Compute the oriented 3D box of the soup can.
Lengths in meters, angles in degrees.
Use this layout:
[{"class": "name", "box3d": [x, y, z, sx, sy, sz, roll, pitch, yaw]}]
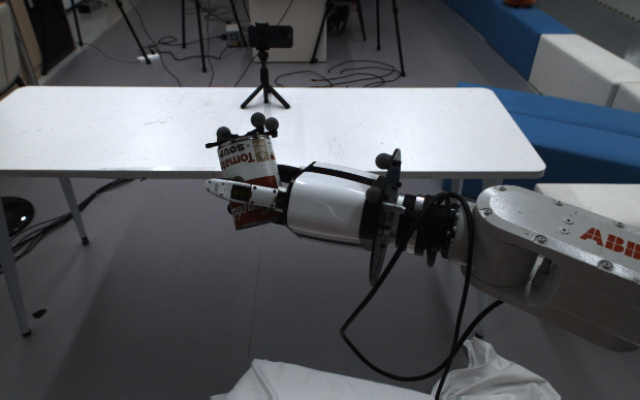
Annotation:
[{"class": "soup can", "box3d": [-0.080, -0.020, 0.586, 0.067, 0.101, 0.067, -14, -2, -1]}]
